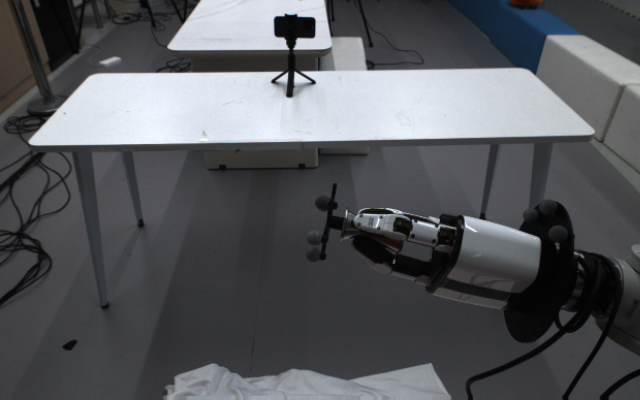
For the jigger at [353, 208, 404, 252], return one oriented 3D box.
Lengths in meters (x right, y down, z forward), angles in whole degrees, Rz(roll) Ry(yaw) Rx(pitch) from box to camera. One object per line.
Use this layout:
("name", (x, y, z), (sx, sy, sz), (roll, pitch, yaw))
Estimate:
("jigger", (0.067, 0.030, 0.546), (0.071, 0.043, 0.043), (11, 35, 3))
